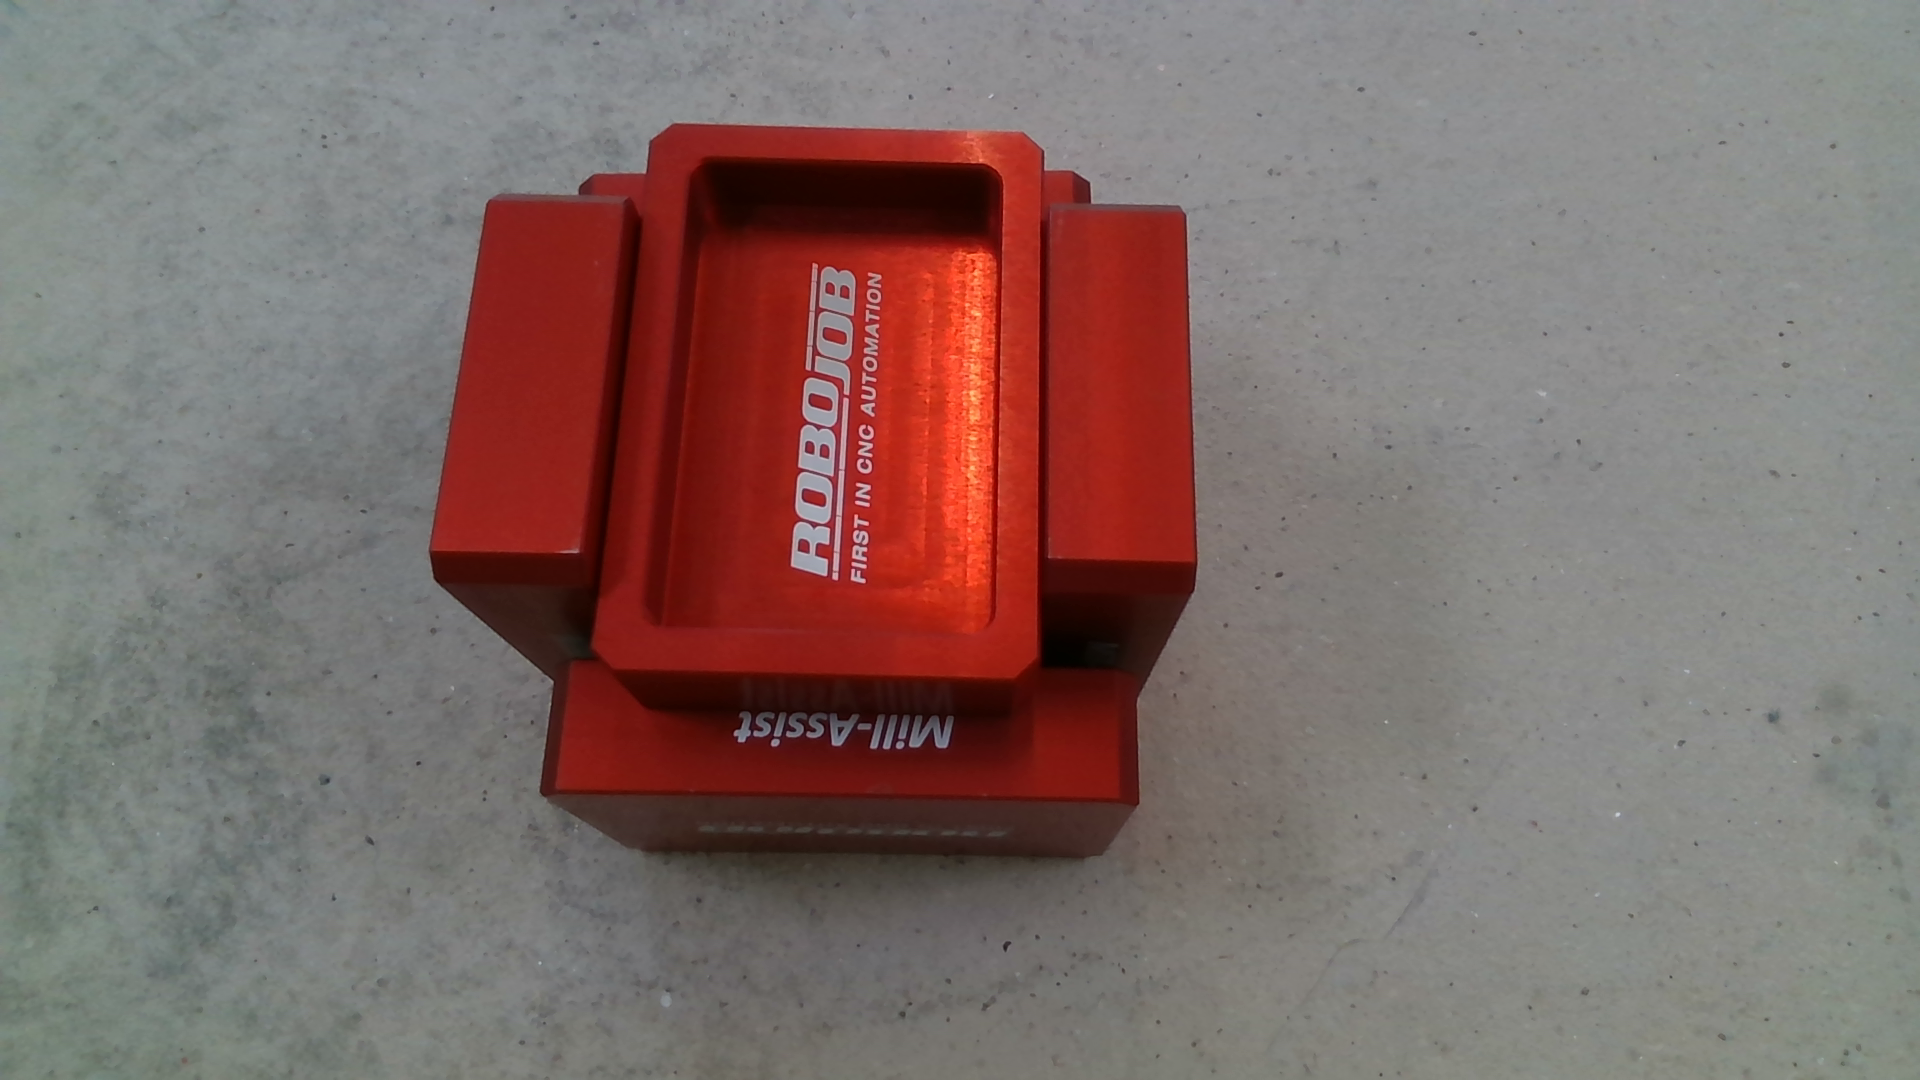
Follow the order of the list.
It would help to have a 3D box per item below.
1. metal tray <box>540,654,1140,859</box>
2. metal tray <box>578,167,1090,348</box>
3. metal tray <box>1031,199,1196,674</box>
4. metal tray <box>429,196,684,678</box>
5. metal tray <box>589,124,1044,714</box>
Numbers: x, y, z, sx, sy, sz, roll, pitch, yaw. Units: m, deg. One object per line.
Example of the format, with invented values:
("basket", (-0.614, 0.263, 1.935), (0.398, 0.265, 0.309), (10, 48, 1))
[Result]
("metal tray", (-0.026, 0.056, 0.341), (0.130, 0.090, 0.030), (2, 70, -1))
("metal tray", (-0.032, -0.065, 0.383), (0.130, 0.090, 0.030), (-1, 71, 0))
("metal tray", (0.032, -0.012, 0.343), (0.030, 0.130, 0.090), (2, 70, 0))
("metal tray", (-0.088, -0.013, 0.344), (0.030, 0.130, 0.090), (1, 70, 1))
("metal tray", (-0.027, -0.029, 0.307), (0.090, 0.030, 0.130), (1, 70, 1))
